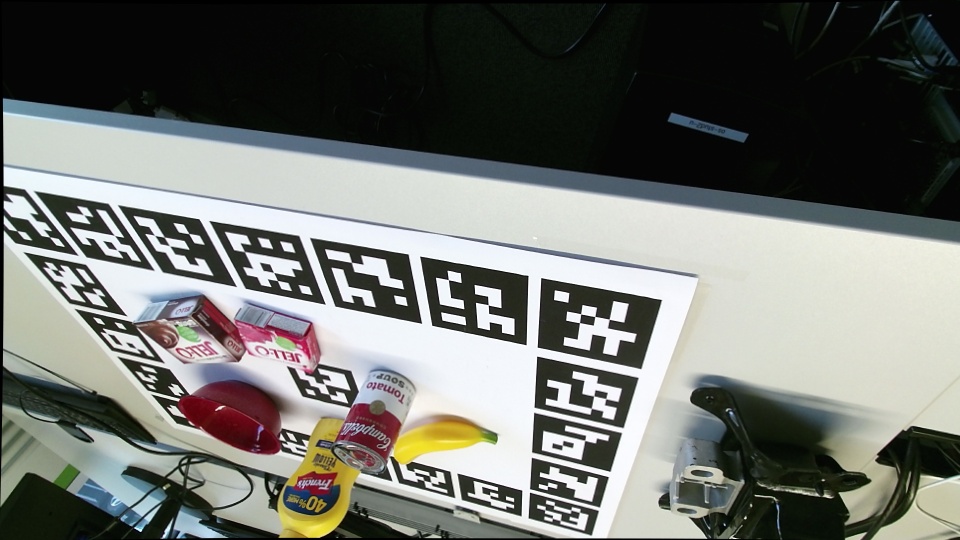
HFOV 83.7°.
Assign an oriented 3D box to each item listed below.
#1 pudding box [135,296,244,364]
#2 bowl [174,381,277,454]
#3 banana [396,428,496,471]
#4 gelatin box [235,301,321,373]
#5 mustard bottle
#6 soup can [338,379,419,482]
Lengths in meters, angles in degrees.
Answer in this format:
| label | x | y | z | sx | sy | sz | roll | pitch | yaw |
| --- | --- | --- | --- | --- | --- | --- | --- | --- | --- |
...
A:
| label | x | y | z | sx | sy | sz | roll | pitch | yaw |
| --- | --- | --- | --- | --- | --- | --- | --- | --- | --- |
| pudding box | -0.372 | 0.082 | 0.687 | 0.114 | 0.038 | 0.090 | -9 | 124 | 29 |
| bowl | -0.374 | 0.217 | 0.818 | 0.162 | 0.055 | 0.162 | 10 | 137 | 10 |
| banana | -0.067 | 0.250 | 0.737 | 0.074 | 0.038 | 0.197 | 32 | 138 | -25 |
| gelatin box | -0.240 | 0.081 | 0.640 | 0.089 | 0.030 | 0.073 | 14 | 134 | 7 |
| mustard bottle | -0.231 | 0.314 | 0.739 | 0.096 | 0.191 | 0.058 | 10 | 139 | 13 |
| soup can | -0.122 | 0.191 | 0.639 | 0.068 | 0.101 | 0.068 | 13 | 139 | 12 |
